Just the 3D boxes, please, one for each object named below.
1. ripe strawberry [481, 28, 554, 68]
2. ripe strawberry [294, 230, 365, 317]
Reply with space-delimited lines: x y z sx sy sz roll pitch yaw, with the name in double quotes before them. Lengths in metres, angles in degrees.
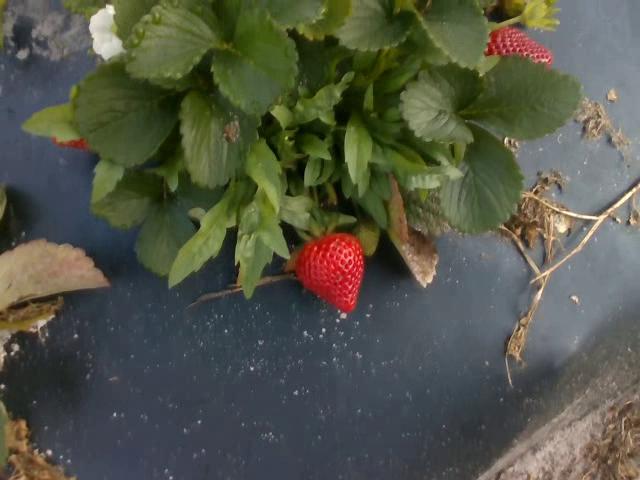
"ripe strawberry" 0.113 -0.104 0.372 0.046 0.043 0.047 1 18 11
"ripe strawberry" 0.007 0.018 0.352 0.043 0.051 0.042 -22 -4 -12
